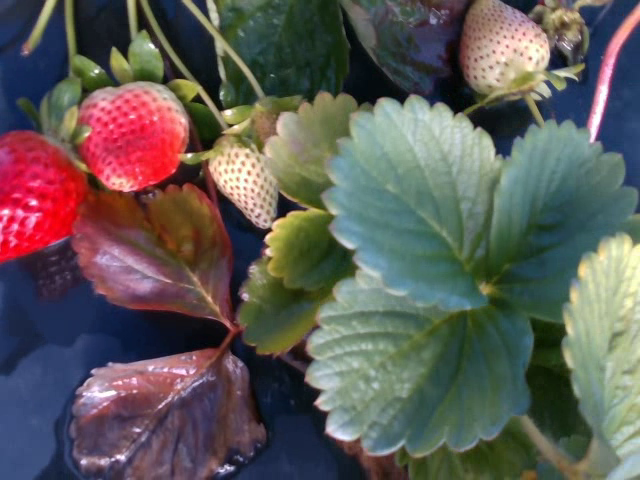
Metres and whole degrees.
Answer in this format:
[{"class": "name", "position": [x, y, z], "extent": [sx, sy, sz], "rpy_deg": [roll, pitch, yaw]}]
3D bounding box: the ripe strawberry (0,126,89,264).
[{"class": "ripe strawberry", "position": [-0.102, -0.010, 0.198], "extent": [0.044, 0.042, 0.055], "rpy_deg": [-7, 37, 31]}]
